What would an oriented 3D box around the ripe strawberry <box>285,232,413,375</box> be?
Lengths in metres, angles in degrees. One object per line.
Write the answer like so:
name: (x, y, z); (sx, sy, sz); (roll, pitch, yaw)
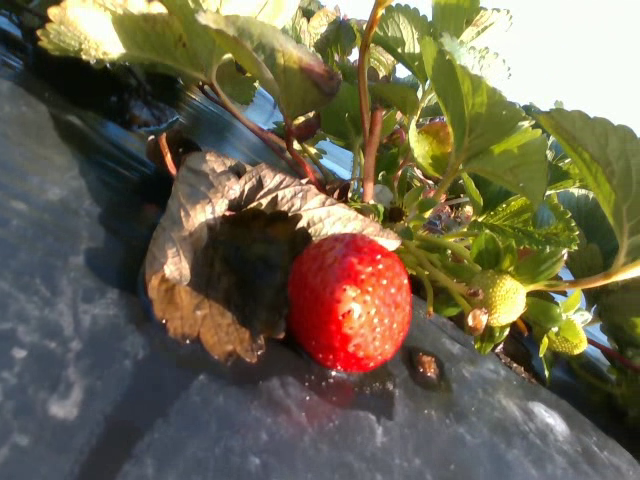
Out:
ripe strawberry: (0.006, 0.017, 0.139); (0.037, 0.047, 0.054); (-42, -5, 11)
